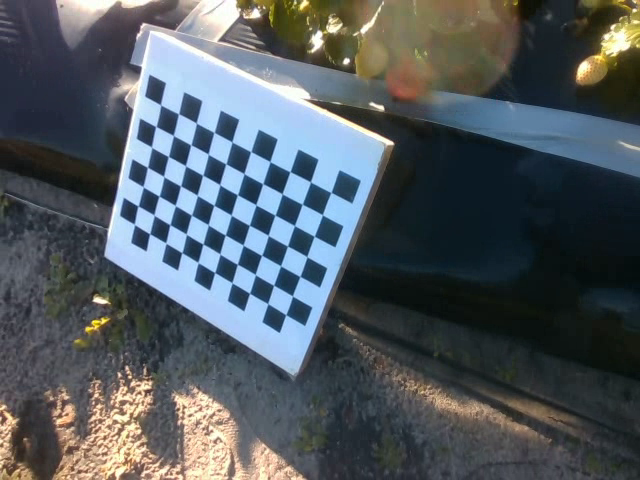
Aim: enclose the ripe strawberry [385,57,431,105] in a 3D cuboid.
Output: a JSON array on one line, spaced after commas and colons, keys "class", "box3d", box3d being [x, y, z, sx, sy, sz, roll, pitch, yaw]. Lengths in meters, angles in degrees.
[{"class": "ripe strawberry", "box3d": [0.080, -0.147, 0.666, 0.048, 0.045, 0.064, 35, 34, -15]}]
